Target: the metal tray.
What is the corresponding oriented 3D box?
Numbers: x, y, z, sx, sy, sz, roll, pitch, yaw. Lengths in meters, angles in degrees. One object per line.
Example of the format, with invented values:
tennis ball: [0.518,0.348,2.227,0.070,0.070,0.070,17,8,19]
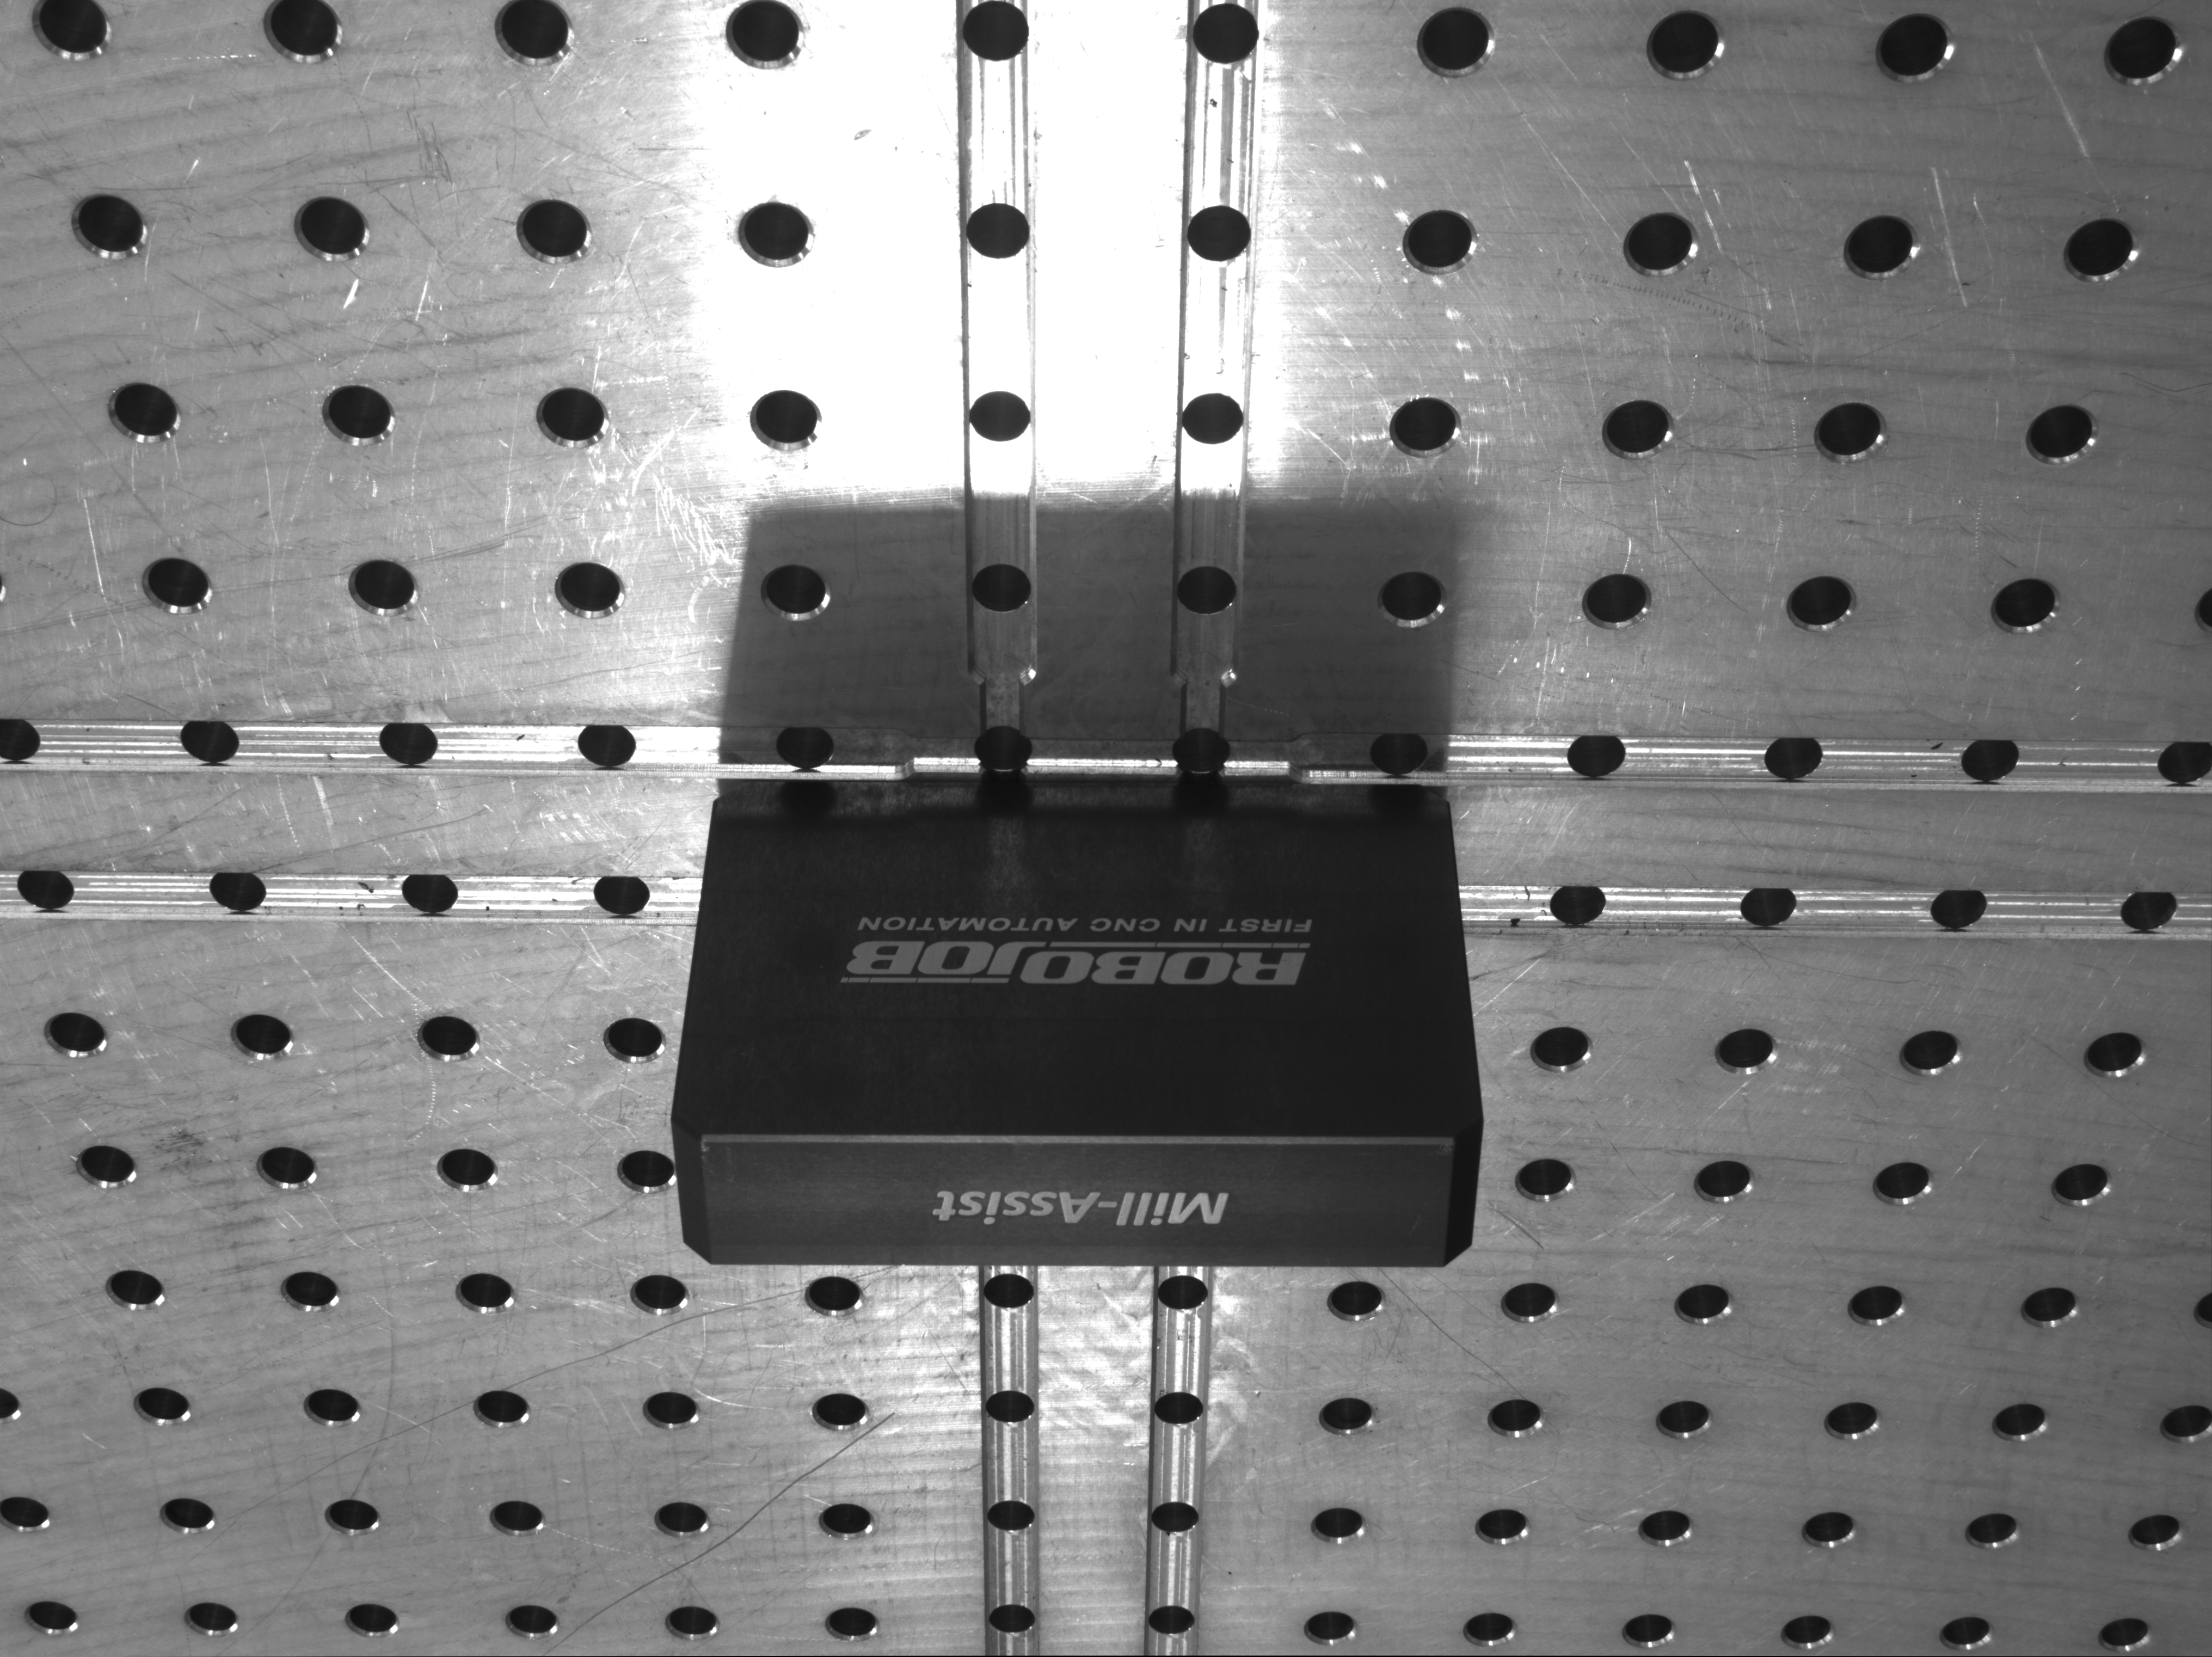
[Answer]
metal tray: [-0.004,0.032,0.627,0.130,0.090,0.030,0,130,0]
